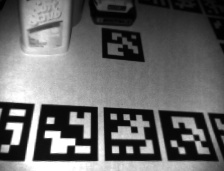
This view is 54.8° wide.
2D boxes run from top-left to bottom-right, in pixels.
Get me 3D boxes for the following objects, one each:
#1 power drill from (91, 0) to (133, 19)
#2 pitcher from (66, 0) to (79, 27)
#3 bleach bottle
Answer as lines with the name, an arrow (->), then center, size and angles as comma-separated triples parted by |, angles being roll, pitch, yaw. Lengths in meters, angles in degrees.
power drill -> 0.037, -0.230, 0.461 | 0.186, 0.186, 0.057 | -1, 62, -20
pitcher -> -0.125, -0.222, 0.406 | 0.190, 0.242, 0.132 | -24, 68, -24
bleach bottle -> -0.124, -0.146, 0.335 | 0.103, 0.251, 0.067 | -7, 60, -15
